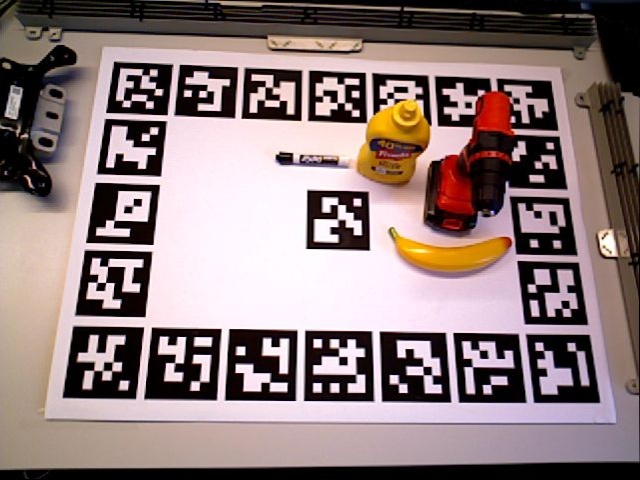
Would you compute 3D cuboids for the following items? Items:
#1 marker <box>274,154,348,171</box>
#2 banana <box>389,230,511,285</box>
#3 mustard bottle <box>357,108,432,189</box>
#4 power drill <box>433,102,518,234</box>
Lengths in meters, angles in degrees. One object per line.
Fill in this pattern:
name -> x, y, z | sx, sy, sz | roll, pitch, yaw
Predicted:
marker -> -0.015, -0.128, 0.896 | 0.120, 0.020, 0.019 | 4, 74, -2
banana -> 0.202, 0.034, 0.854 | 0.196, 0.039, 0.074 | 10, 75, 2
mustard bottle -> 0.117, -0.140, 0.816 | 0.096, 0.194, 0.058 | 13, 72, -1
power drill -> 0.221, -0.079, 0.787 | 0.057, 0.190, 0.182 | 16, 70, -1
